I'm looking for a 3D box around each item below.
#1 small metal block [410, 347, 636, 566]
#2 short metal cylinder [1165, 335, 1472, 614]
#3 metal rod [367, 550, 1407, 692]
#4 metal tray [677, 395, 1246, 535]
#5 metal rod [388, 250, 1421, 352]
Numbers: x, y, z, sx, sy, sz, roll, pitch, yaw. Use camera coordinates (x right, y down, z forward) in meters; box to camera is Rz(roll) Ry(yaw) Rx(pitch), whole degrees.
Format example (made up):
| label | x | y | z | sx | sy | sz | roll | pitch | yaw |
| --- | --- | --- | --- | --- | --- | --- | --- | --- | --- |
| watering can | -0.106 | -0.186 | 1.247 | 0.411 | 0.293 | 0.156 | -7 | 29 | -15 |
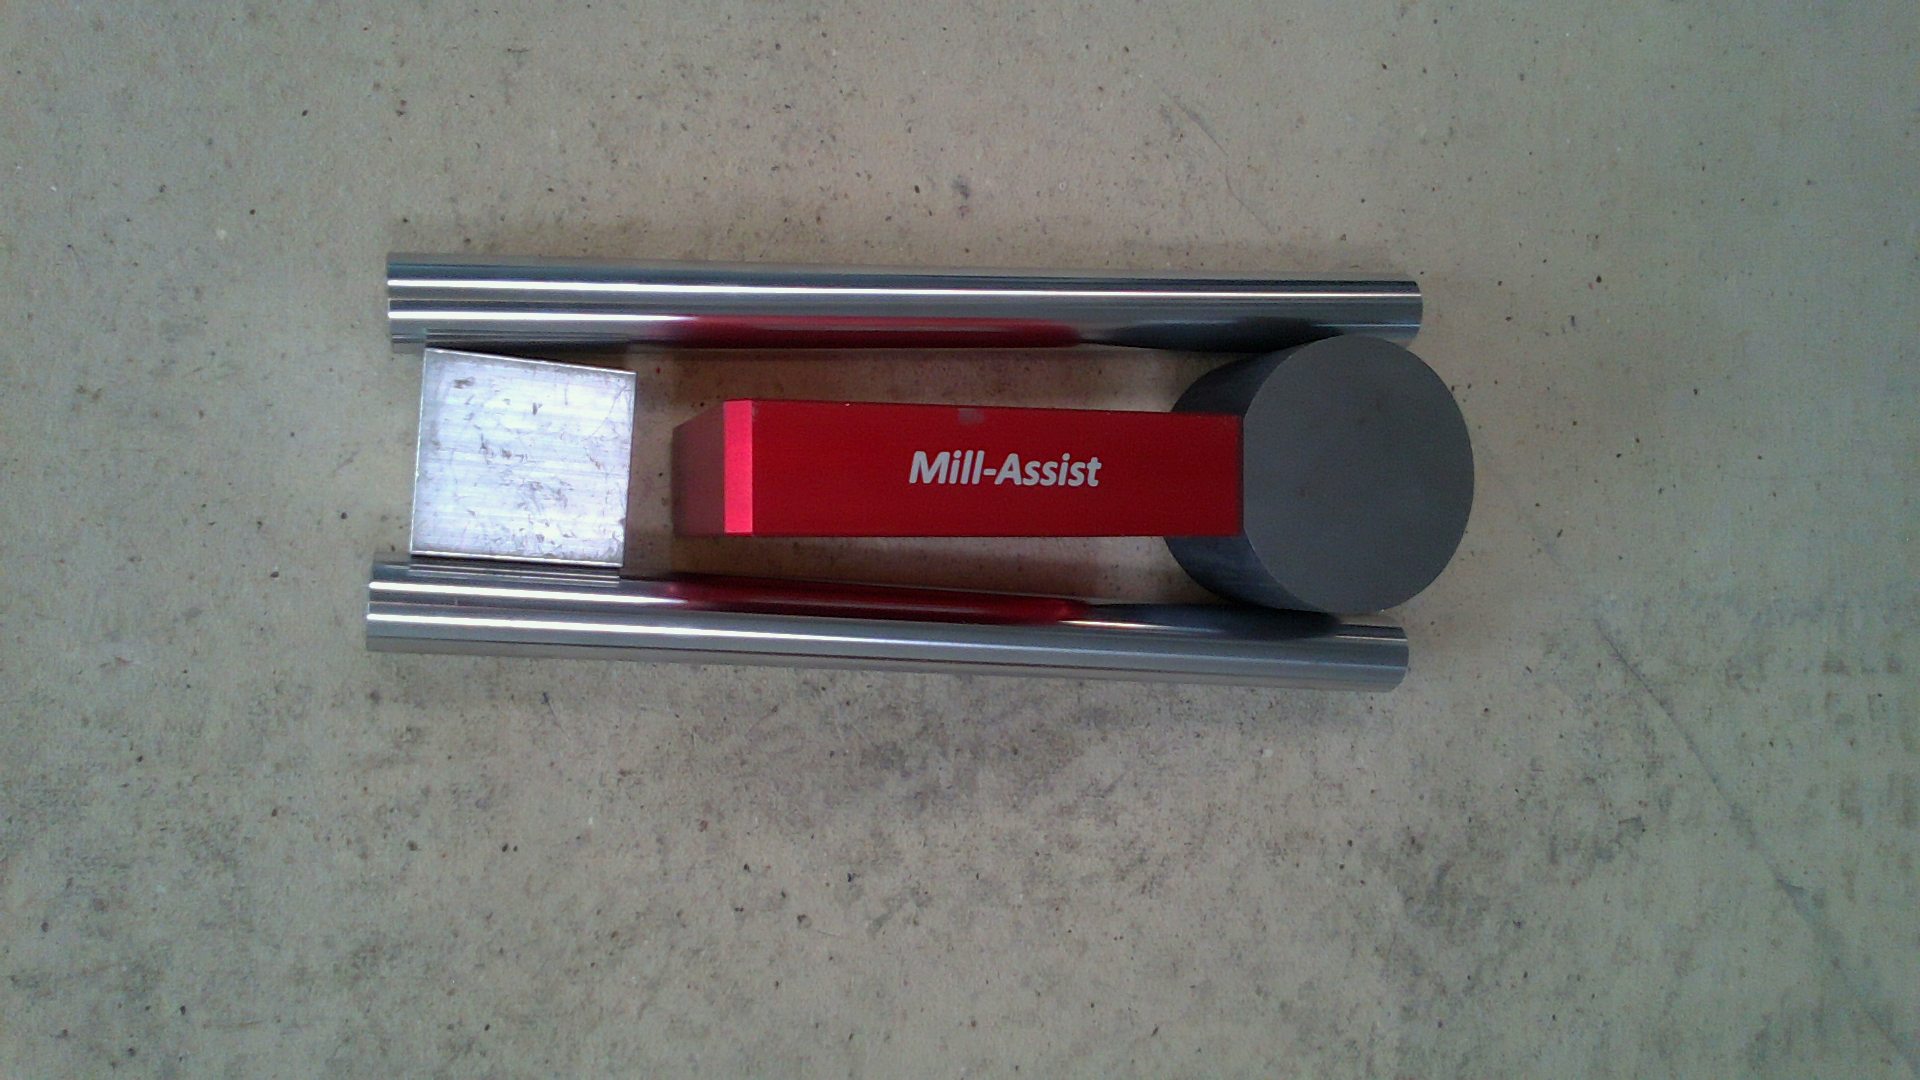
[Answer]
| label | x | y | z | sx | sy | sz | roll | pitch | yaw |
| --- | --- | --- | --- | --- | --- | --- | --- | --- | --- |
| small metal block | -0.112 | -0.020 | 0.353 | 0.050 | 0.025 | 0.050 | 4 | 89 | -20 |
| short metal cylinder | 0.106 | -0.019 | 0.418 | 0.080 | 0.050 | 0.080 | 0 | 90 | -20 |
| metal rod | -0.005 | 0.026 | 0.392 | 0.301 | 0.025 | 0.025 | 4 | 89 | -20 |
| metal tray | -0.003 | -0.016 | 0.356 | 0.130 | 0.090 | 0.030 | 0 | 90 | -19 |
| metal rod | 0.000 | -0.066 | 0.393 | 0.301 | 0.025 | 0.025 | -3 | 91 | -20 |
